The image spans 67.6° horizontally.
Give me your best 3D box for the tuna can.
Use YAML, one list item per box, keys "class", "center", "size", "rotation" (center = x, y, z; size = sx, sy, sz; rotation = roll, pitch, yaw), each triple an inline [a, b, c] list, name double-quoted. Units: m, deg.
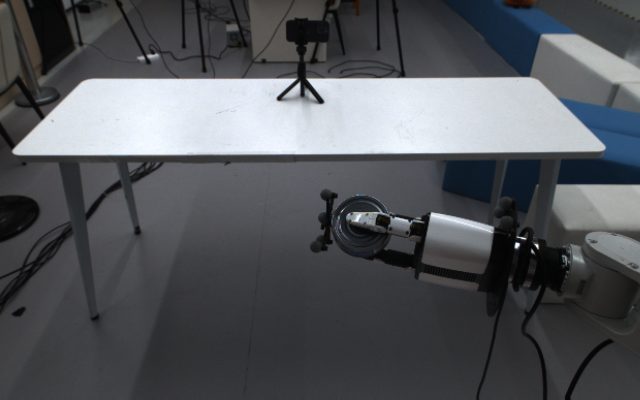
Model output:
- class: "tuna can"
  center: [0.062, 0.039, 0.682]
  size: [0.085, 0.034, 0.085]
  rotation: [-2, 69, 6]
